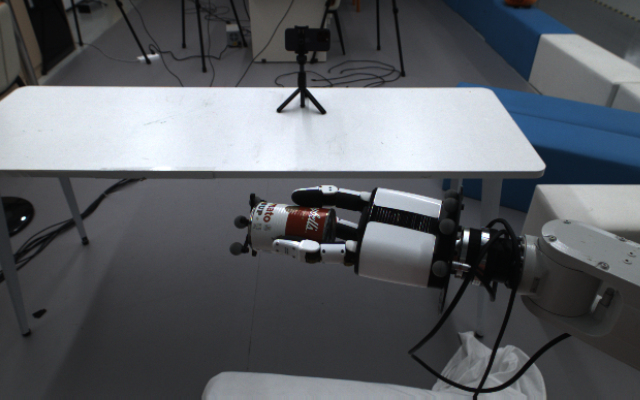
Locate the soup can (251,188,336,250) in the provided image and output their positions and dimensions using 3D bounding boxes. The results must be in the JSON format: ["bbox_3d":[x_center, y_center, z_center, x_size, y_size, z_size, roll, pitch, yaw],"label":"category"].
[{"bbox_3d":[-0.032,0.039,0.633,0.101,0.067,0.067,5,34,13],"label":"soup can"}]
